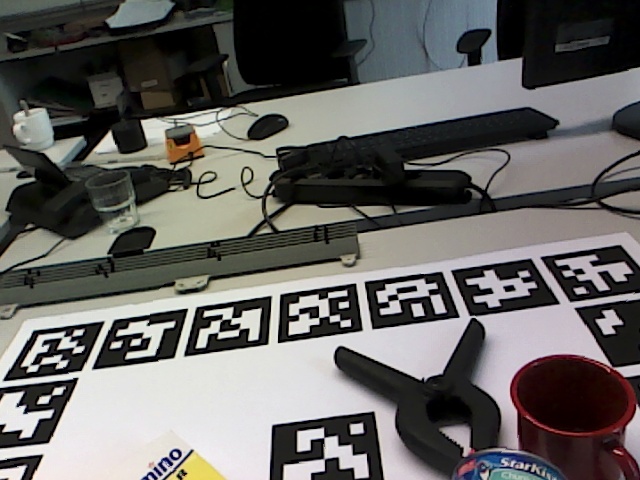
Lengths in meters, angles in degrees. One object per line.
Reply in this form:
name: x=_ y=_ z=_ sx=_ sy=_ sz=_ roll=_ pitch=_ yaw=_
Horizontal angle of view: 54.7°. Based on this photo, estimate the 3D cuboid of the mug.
mug: x=0.191 y=0.166 z=0.505 sx=0.093 sy=0.081 sz=0.118 roll=-22 pitch=28 yaw=-21

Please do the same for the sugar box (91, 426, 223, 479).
sugar box: x=-0.118 y=0.229 z=0.507 sx=0.092 sy=0.045 sz=0.178 roll=-28 pitch=28 yaw=-29

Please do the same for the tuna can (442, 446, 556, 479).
tuna can: x=0.133 y=0.196 z=0.459 sx=0.086 sy=0.085 sz=0.034 roll=1 pitch=31 yaw=18

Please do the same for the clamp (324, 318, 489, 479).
clamp: x=0.103 y=0.158 z=0.604 sx=0.165 sy=0.036 sz=0.204 roll=-13 pitch=31 yaw=-6
